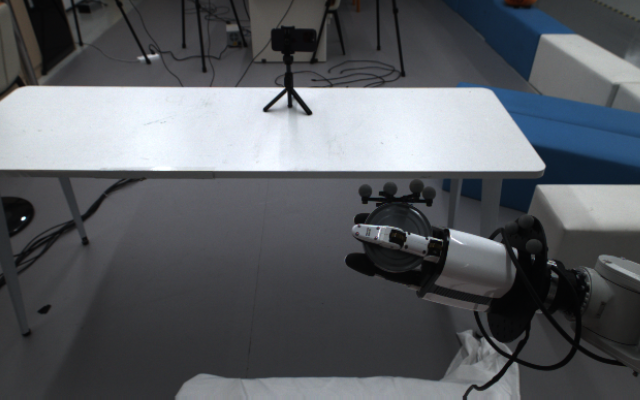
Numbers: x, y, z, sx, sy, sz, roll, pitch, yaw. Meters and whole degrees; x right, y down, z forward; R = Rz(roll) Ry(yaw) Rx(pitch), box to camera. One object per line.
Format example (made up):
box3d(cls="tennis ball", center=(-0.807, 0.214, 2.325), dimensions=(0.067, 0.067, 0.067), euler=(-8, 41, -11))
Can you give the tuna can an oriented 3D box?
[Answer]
box3d(cls="tuna can", center=(0.095, 0.045, 0.600), dimensions=(0.085, 0.034, 0.085), euler=(-1, 75, 4))
